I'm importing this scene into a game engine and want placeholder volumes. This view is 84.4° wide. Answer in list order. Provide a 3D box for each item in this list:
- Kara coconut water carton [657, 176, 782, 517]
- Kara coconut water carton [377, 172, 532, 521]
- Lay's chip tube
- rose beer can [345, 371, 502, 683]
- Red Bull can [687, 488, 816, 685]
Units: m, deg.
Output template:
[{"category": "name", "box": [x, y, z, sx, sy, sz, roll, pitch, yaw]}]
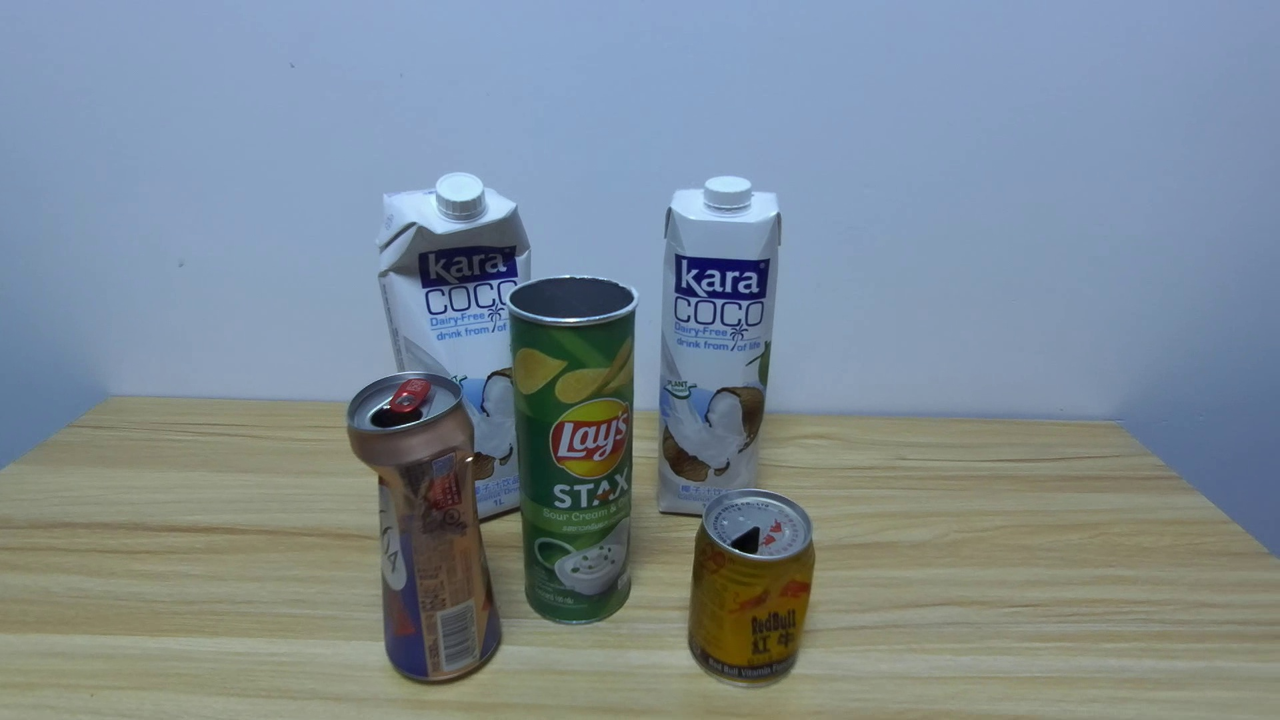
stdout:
[{"category": "Kara coconut water carton", "box": [0.053, -0.006, 0.498, 0.077, 0.245, 0.075, 4, 24, 7]}, {"category": "Kara coconut water carton", "box": [-0.120, -0.006, 0.498, 0.100, 0.244, 0.071, -18, 29, -29]}, {"category": "Lay's chip tube", "box": [-0.037, 0.056, 0.417, 0.071, 0.202, 0.071, 1, 25, 0]}, {"category": "rose beer can", "box": [-0.115, 0.092, 0.380, 0.065, 0.167, 0.075, -10, 29, -17]}, {"category": "Red Bull can", "box": [0.062, 0.127, 0.398, 0.069, 0.092, 0.069, 2, 25, -1]}]
